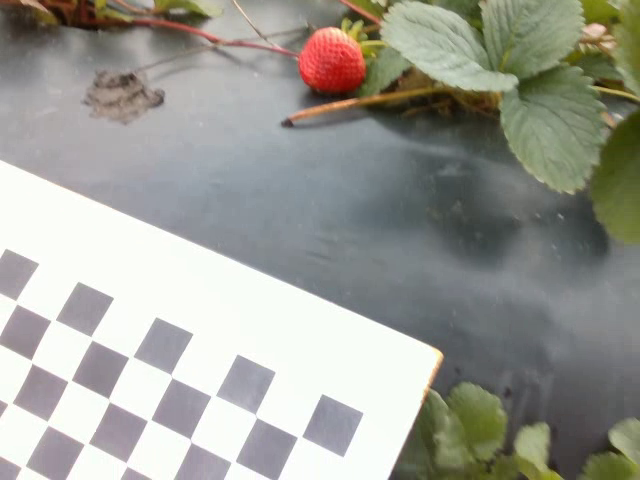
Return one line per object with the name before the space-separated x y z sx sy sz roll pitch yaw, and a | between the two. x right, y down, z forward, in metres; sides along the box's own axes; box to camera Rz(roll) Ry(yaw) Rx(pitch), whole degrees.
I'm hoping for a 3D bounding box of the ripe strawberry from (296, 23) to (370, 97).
ripe strawberry | 0.004 -0.151 0.478 0.061 0.065 0.050 34 -14 11
